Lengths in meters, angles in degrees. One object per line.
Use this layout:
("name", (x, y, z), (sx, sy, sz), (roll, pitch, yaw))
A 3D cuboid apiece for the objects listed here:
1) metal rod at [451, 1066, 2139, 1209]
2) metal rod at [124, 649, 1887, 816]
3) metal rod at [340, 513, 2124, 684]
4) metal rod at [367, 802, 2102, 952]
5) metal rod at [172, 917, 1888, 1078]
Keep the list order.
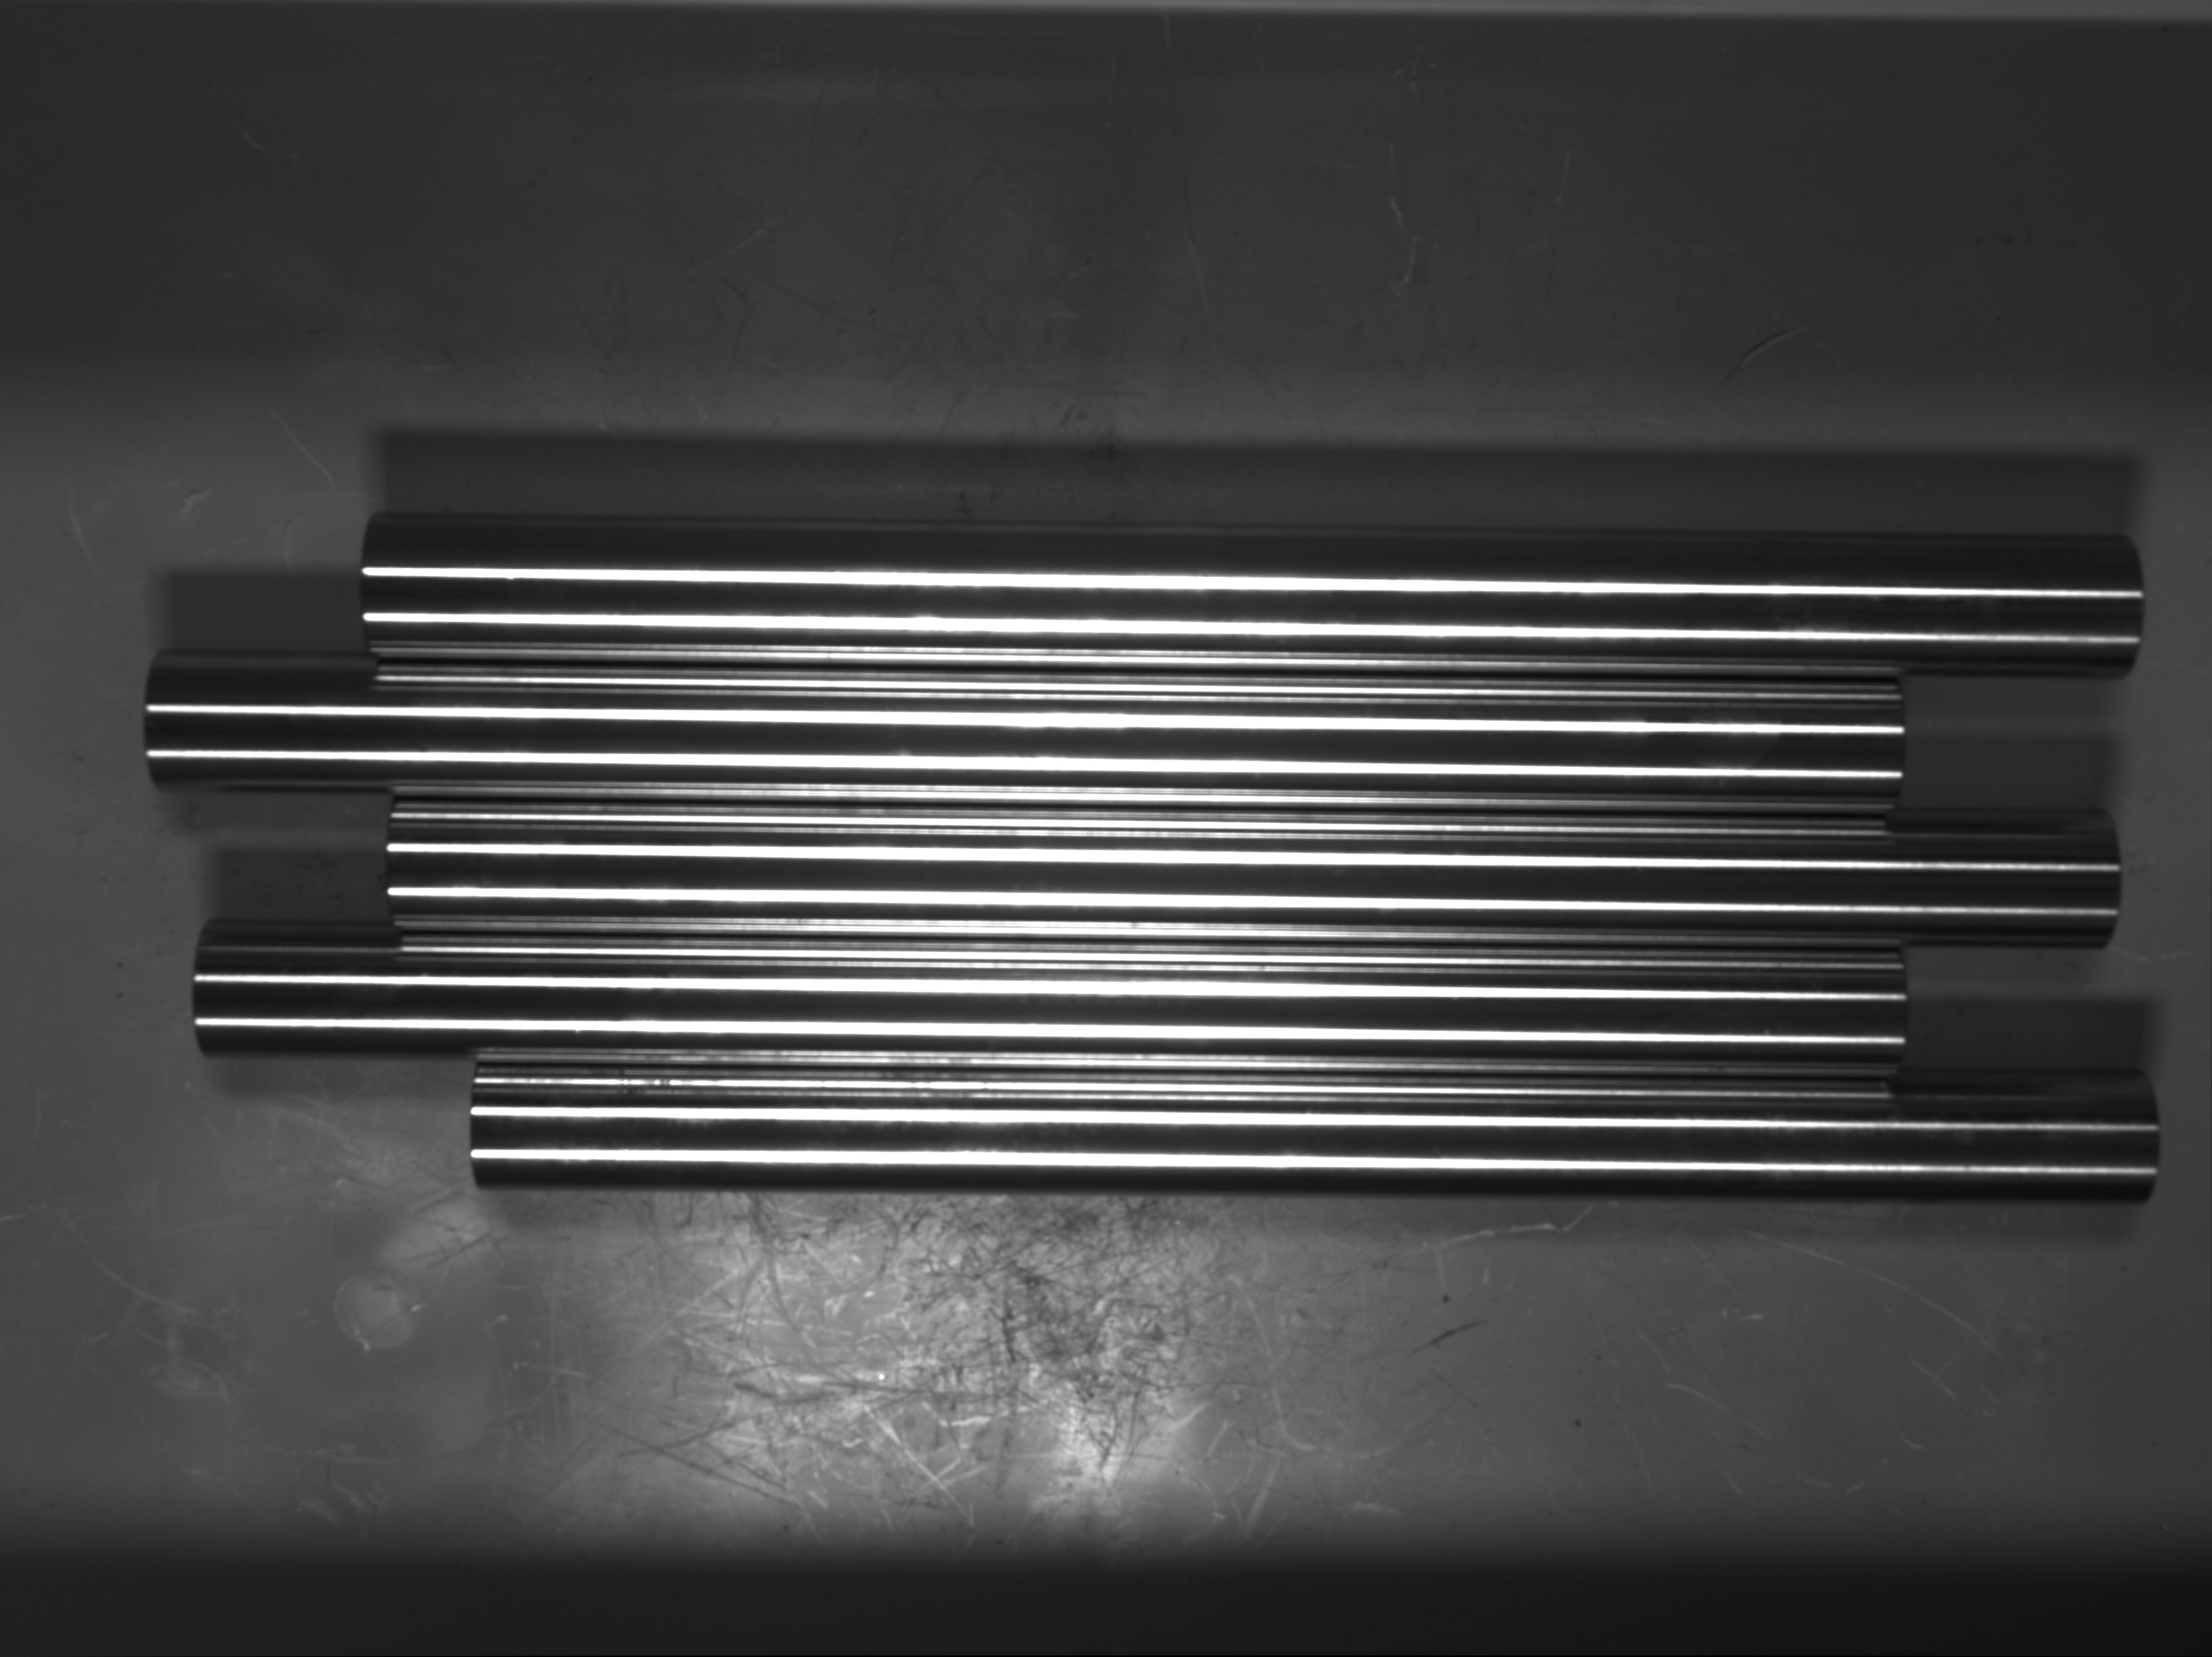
("metal rod", (0.034, 0.055, 0.662), (0.300, 0.025, 0.025), (1, 110, -1))
("metal rod", (-0.017, -0.017, 0.636), (0.300, 0.025, 0.025), (1, 110, -1))
("metal rod", (0.022, -0.039, 0.628), (0.300, 0.025, 0.025), (1, 110, -1))
("metal rod", (0.023, 0.007, 0.645), (0.300, 0.025, 0.025), (1, 110, -1))
("metal rod", (-0.013, 0.030, 0.653), (0.300, 0.025, 0.025), (1, 110, -1))
